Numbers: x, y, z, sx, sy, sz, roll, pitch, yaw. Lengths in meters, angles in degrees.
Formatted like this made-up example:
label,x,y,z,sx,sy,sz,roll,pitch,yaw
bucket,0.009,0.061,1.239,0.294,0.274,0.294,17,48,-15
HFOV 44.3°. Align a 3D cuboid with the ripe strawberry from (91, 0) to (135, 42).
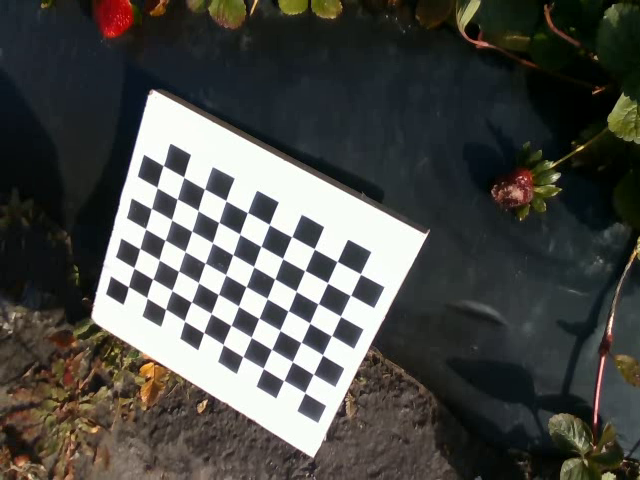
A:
label,x,y,z,sx,sy,sz,roll,pitch,yaw
ripe strawberry,-0.188,-0.201,0.703,0.040,0.056,0.040,-23,-37,32
